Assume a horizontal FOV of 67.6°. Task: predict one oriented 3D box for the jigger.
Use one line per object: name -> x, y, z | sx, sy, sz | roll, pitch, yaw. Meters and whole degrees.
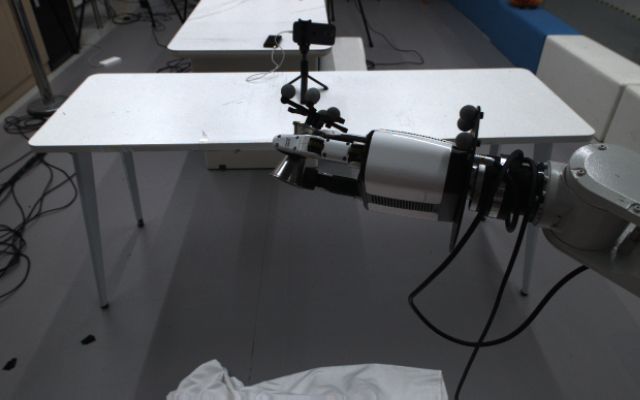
jigger -> -0.027, -0.053, 0.559 | 0.043, 0.071, 0.043 | 24, -3, 1
